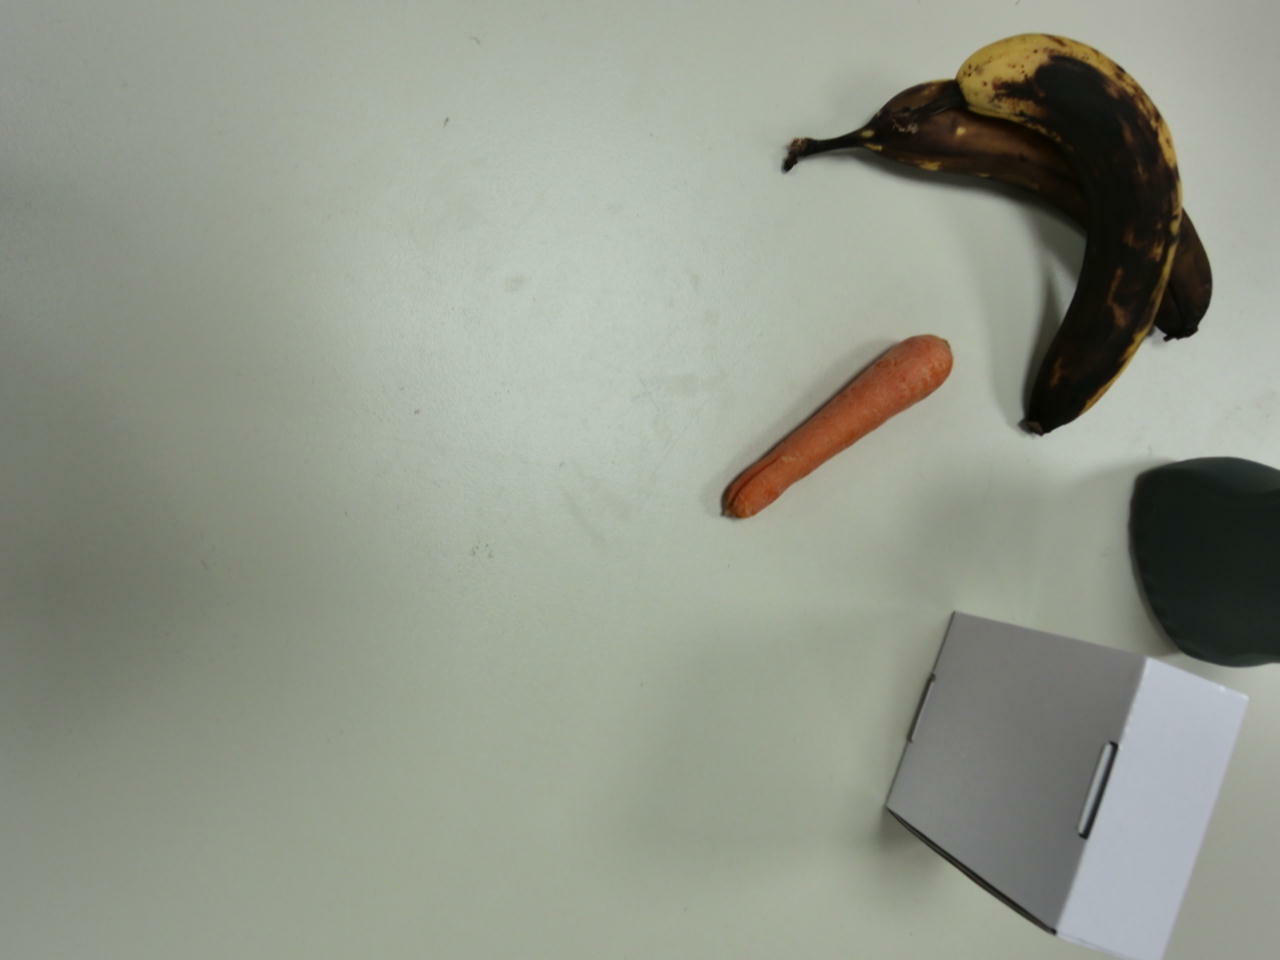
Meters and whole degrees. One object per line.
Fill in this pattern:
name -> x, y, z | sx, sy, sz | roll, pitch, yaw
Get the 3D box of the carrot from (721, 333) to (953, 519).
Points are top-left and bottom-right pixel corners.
carrot -> 0.092, -0.026, 0.468 | 0.136, 0.032, 0.030 | -36, 98, -10
